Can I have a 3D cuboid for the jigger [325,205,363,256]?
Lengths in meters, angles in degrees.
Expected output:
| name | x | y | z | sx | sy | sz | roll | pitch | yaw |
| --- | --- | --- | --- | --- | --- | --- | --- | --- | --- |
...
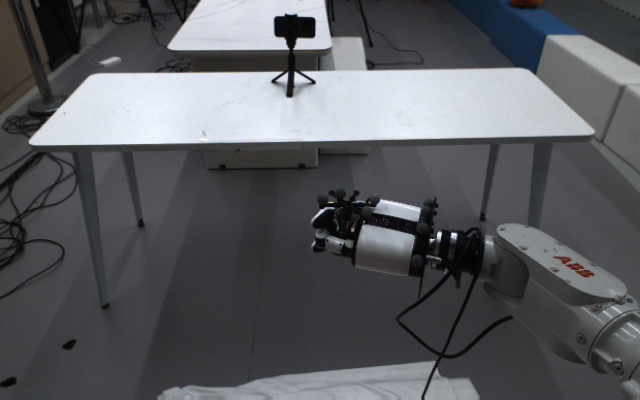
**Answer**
| name | x | y | z | sx | sy | sz | roll | pitch | yaw |
| --- | --- | --- | --- | --- | --- | --- | --- | --- | --- |
| jigger | 0.043 | 0.048 | 0.772 | 0.043 | 0.071 | 0.043 | 4 | 31 | -2 |
